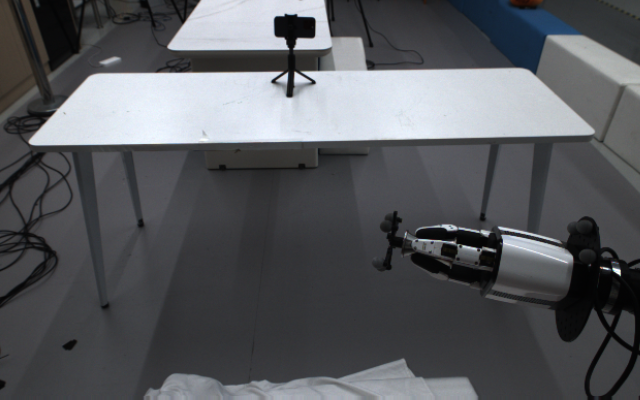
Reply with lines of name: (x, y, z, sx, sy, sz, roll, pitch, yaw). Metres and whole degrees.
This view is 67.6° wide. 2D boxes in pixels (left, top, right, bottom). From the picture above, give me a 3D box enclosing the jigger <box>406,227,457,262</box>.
jigger: (0.154, 0.062, 0.660, 0.071, 0.043, 0.043, 10, 35, 15)
